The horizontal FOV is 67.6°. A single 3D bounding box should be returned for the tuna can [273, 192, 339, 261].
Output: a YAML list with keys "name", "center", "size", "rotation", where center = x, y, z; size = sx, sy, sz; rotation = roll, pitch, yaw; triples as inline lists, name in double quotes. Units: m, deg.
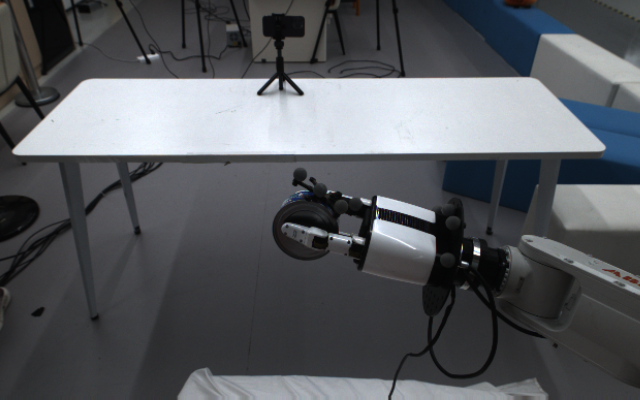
- name: "tuna can"
  center: [-0.016, 0.034, 0.634]
  size: [0.085, 0.085, 0.034]
  rotation: [4, 20, 3]
